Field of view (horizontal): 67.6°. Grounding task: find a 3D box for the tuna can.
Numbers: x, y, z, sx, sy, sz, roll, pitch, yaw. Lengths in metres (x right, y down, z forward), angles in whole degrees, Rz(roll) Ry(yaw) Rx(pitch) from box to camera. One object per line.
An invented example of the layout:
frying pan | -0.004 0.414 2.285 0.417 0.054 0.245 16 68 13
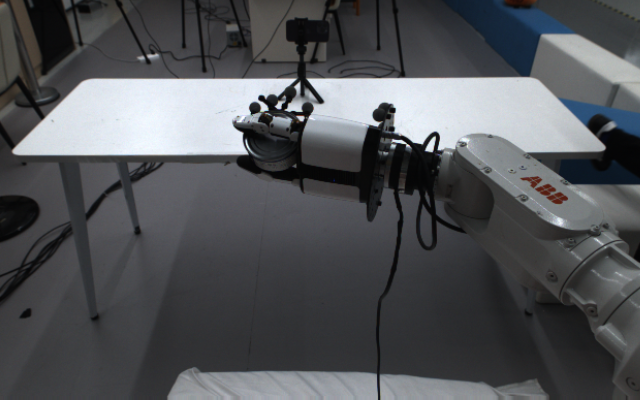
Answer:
tuna can | -0.065 -0.085 0.687 0.085 0.034 0.085 -3 62 6
